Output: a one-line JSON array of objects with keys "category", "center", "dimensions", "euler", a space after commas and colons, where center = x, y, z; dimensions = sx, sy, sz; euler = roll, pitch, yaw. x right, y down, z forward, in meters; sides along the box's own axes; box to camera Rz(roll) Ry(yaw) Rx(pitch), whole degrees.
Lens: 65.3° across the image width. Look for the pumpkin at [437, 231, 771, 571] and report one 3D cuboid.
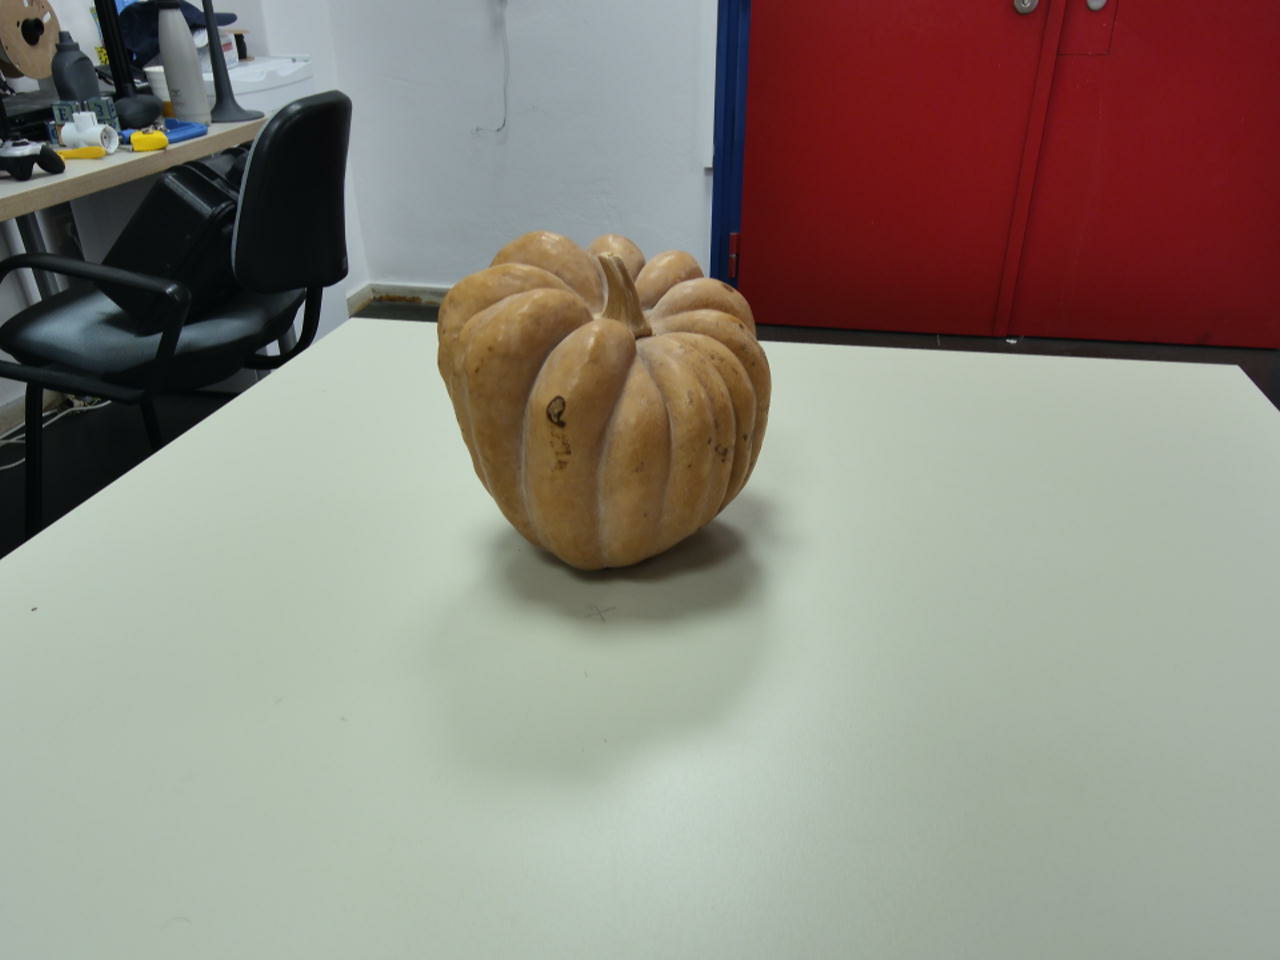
[{"category": "pumpkin", "center": [-0.020, -0.047, 0.575], "dimensions": [0.199, 0.177, 0.198], "euler": [0, 26, 0]}]
